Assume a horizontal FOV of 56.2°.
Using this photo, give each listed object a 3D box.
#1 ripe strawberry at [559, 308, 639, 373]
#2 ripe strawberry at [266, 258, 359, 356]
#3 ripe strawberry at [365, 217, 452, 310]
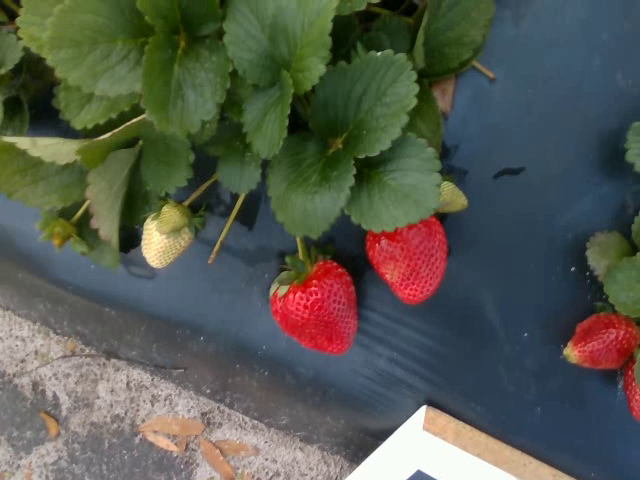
[{"bbox_3d":[0.167,0.065,0.367,0.053,0.039,0.047,-12,-42,-10],"label":"ripe strawberry"},{"bbox_3d":[0.000,0.049,0.382,0.058,0.065,0.043,-20,14,40],"label":"ripe strawberry"},{"bbox_3d":[0.054,0.014,0.365,0.051,0.060,0.050,5,-22,-43],"label":"ripe strawberry"}]
